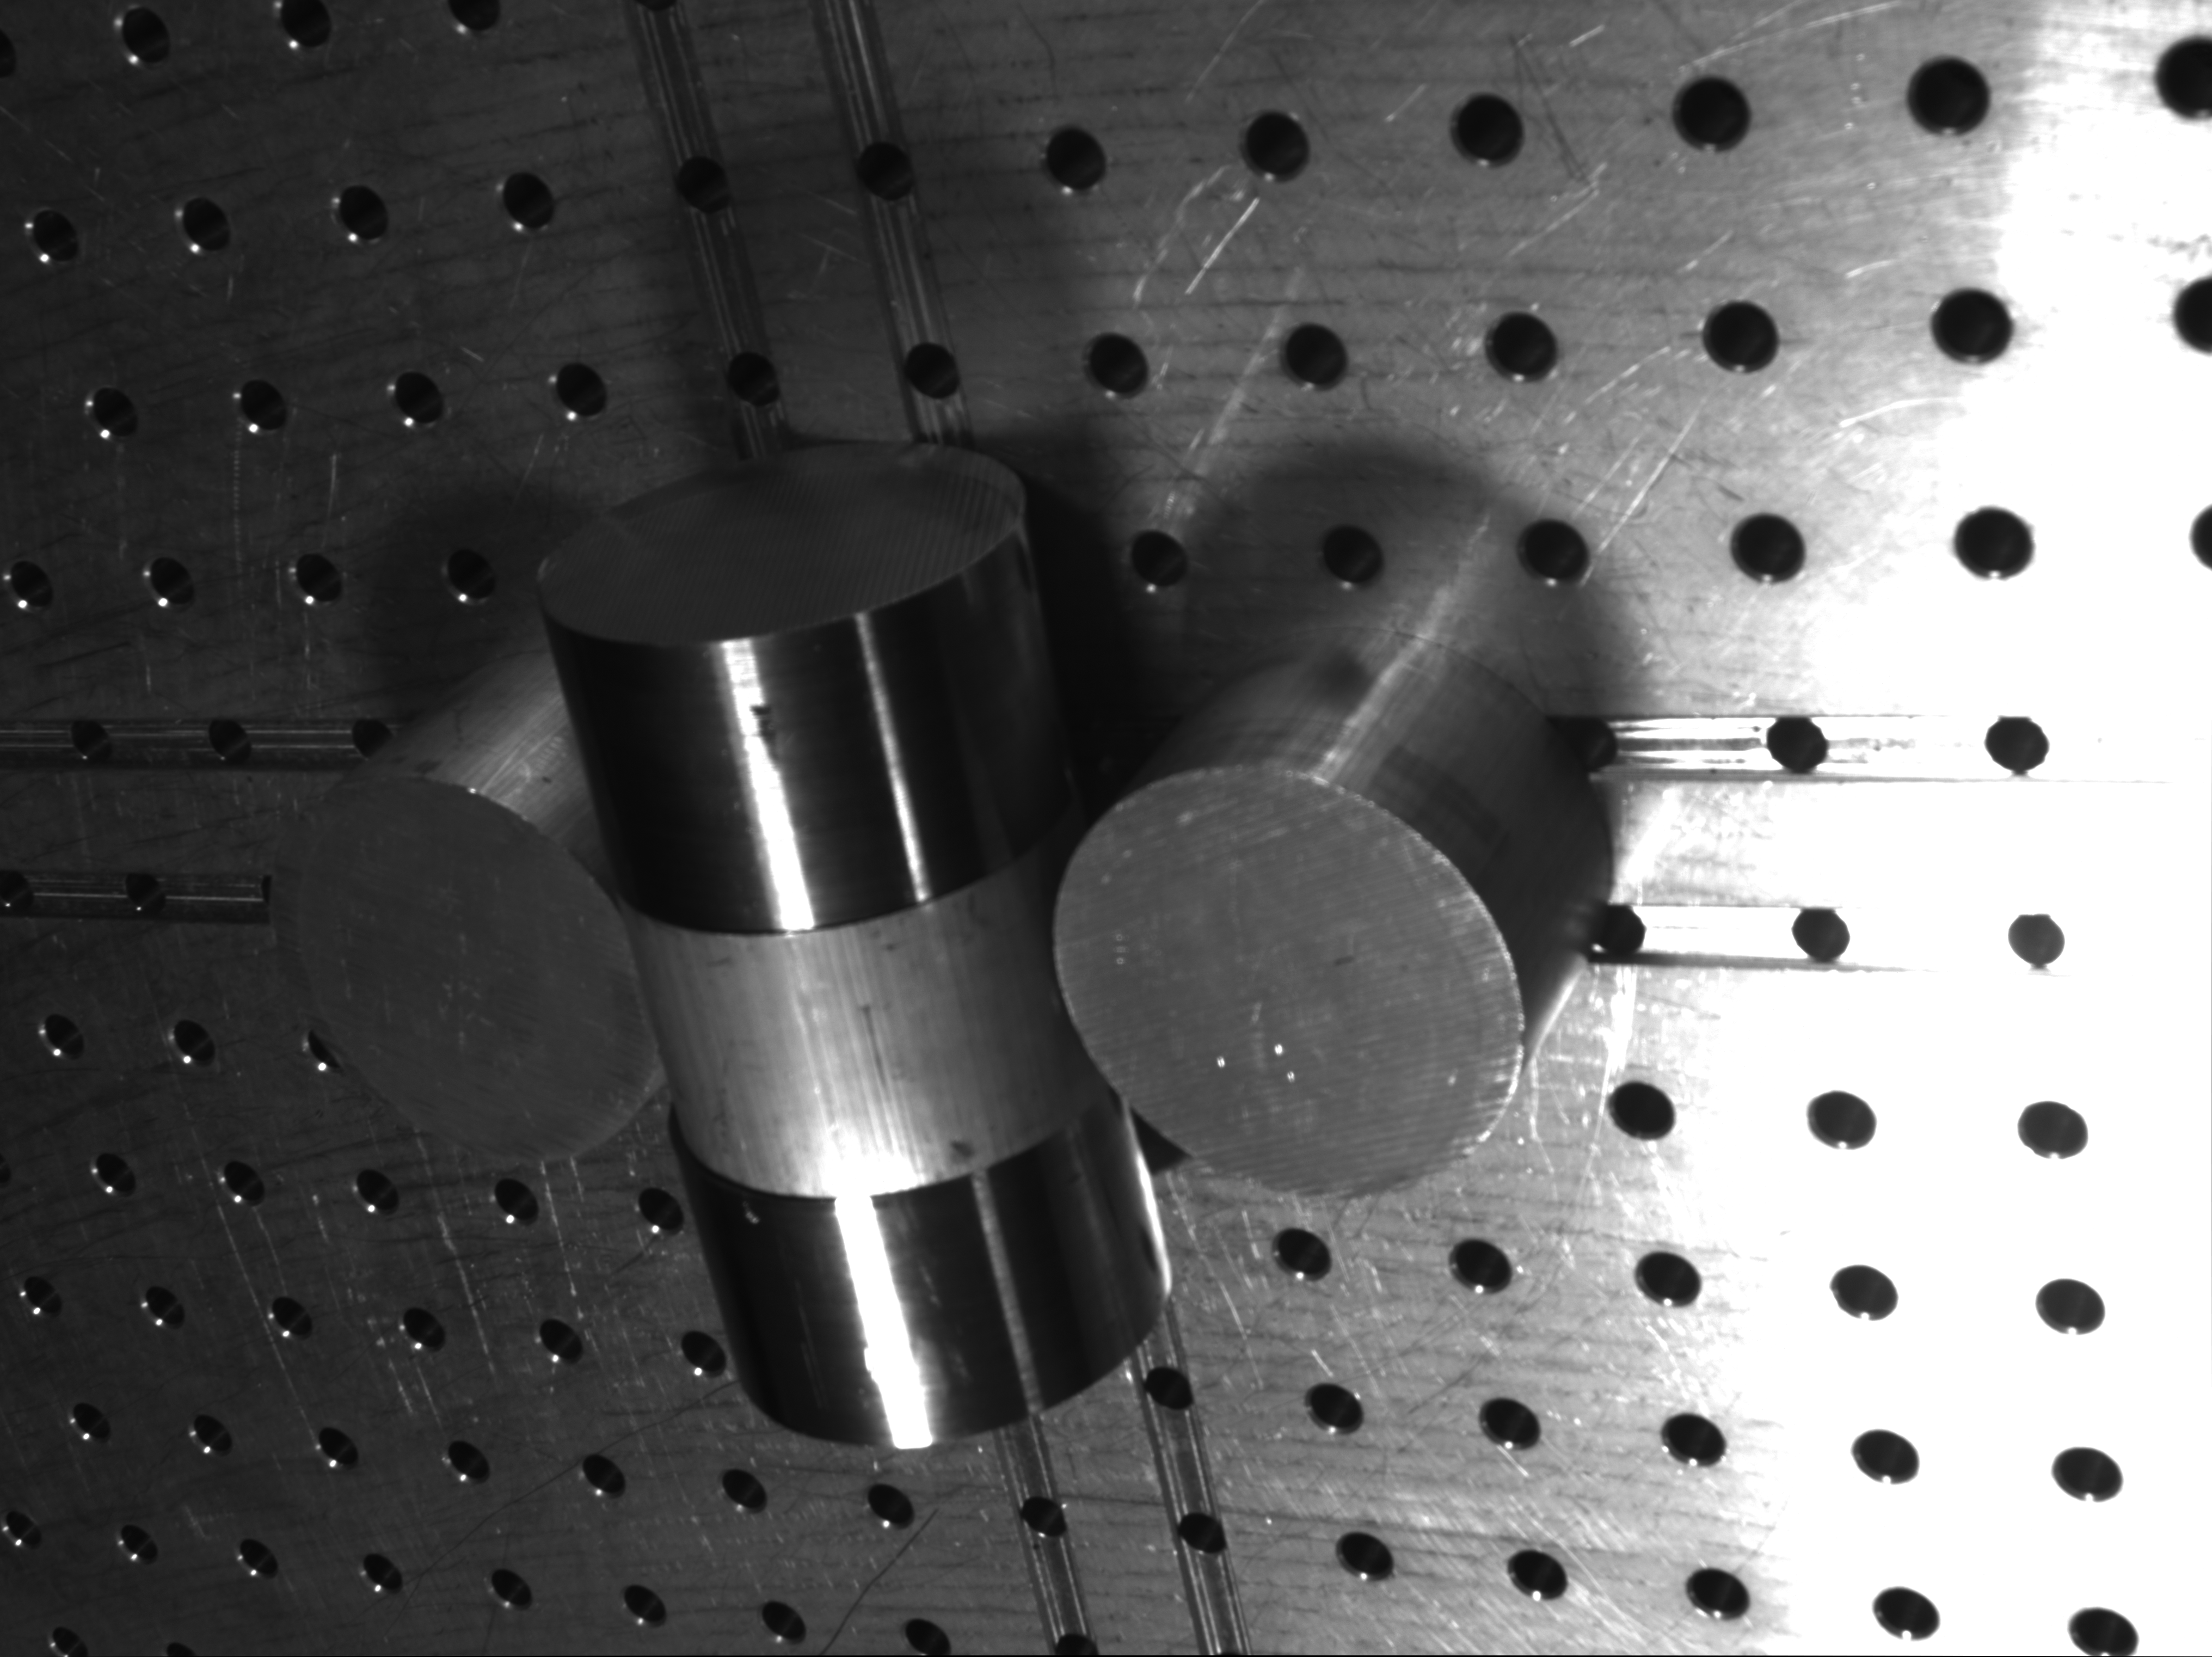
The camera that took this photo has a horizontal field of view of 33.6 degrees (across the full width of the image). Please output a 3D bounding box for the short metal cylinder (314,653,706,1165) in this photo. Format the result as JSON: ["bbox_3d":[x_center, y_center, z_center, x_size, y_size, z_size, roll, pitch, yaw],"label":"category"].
[{"bbox_3d":[-0.098,0.015,0.675,0.080,0.050,0.080,12,123,20],"label":"short metal cylinder"}]

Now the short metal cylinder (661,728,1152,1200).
[{"bbox_3d":[-0.032,0.020,0.627,0.080,0.080,0.050,2,119,26],"label":"short metal cylinder"}]

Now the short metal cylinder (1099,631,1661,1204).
[{"bbox_3d":[0.046,0.014,0.603,0.080,0.050,0.080,12,123,20],"label":"short metal cylinder"}]

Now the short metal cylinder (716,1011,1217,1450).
[{"bbox_3d":[-0.024,0.066,0.650,0.080,0.080,0.050,1,119,26],"label":"short metal cylinder"}]

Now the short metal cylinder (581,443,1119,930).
[{"bbox_3d":[-0.041,-0.025,0.604,0.080,0.080,0.050,2,119,25],"label":"short metal cylinder"}]
